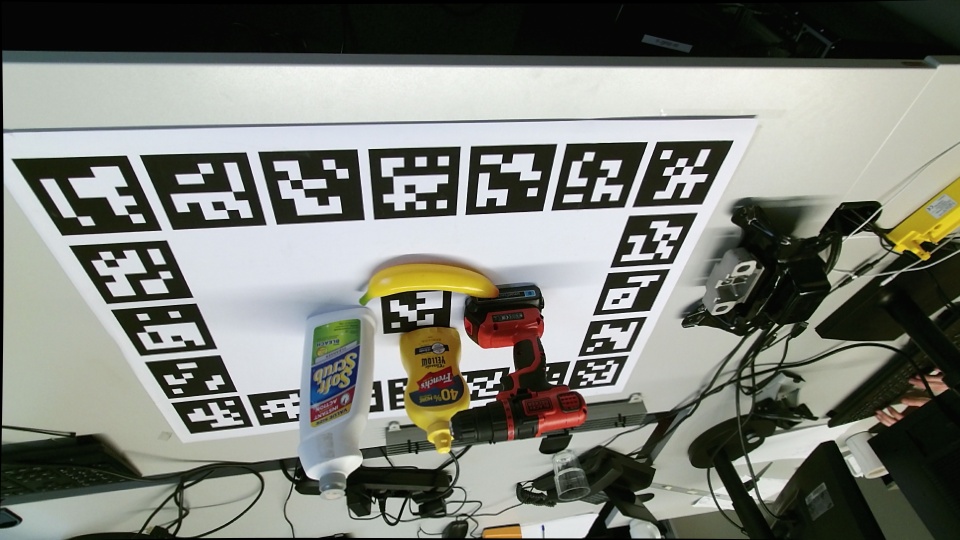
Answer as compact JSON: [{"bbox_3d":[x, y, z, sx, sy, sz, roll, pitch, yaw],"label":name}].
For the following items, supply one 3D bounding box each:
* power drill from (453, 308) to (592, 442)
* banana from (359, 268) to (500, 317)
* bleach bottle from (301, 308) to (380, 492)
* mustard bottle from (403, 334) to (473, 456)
[{"bbox_3d":[0.048,0.146,0.748,0.185,0.186,0.057,-4,141,-6],"label":"power drill"},{"bbox_3d":[-0.067,0.030,0.738,0.198,0.038,0.074,-3,130,-14],"label":"banana"},{"bbox_3d":[-0.180,0.164,0.707,0.103,0.249,0.068,-10,134,-4],"label":"bleach bottle"},{"bbox_3d":[-0.061,0.184,0.785,0.096,0.190,0.058,-3,134,-10],"label":"mustard bottle"}]
